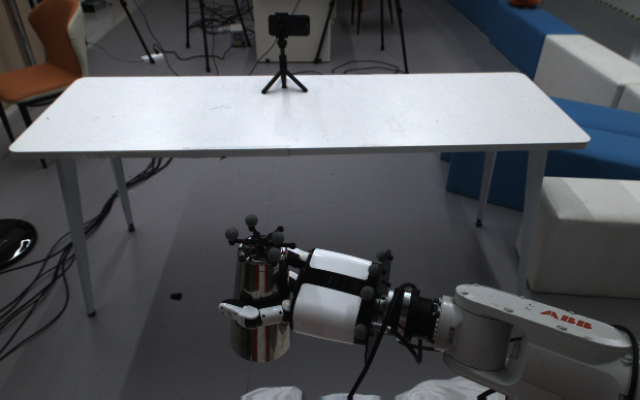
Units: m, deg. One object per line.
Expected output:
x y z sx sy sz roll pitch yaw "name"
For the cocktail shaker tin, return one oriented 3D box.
-0.082 0.135 0.680 0.093 0.170 0.093 4 31 -2 "cocktail shaker tin"
